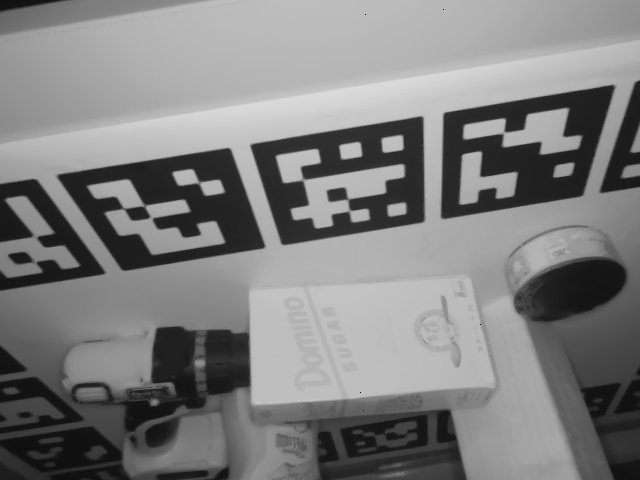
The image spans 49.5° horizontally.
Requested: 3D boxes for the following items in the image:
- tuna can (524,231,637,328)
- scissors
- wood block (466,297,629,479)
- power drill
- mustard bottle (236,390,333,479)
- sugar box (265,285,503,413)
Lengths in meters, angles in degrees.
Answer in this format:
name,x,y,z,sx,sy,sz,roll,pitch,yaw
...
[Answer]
name,x,y,z,sx,sy,sz,roll,pitch,yaw
tuna can,0.207,0.033,0.549,0.086,0.034,0.085,-5,136,-4
scissors,0.111,0.182,0.706,0.203,0.016,0.087,-8,141,-2
wood block,0.186,0.164,0.577,0.090,0.207,0.090,-29,132,21
power drill,-0.086,0.150,0.609,0.186,0.057,0.185,0,129,-10
mustard bottle,-0.027,0.219,0.606,0.097,0.192,0.057,30,124,-32
sugar box,0.047,0.081,0.537,0.177,0.093,0.045,1,139,-7
